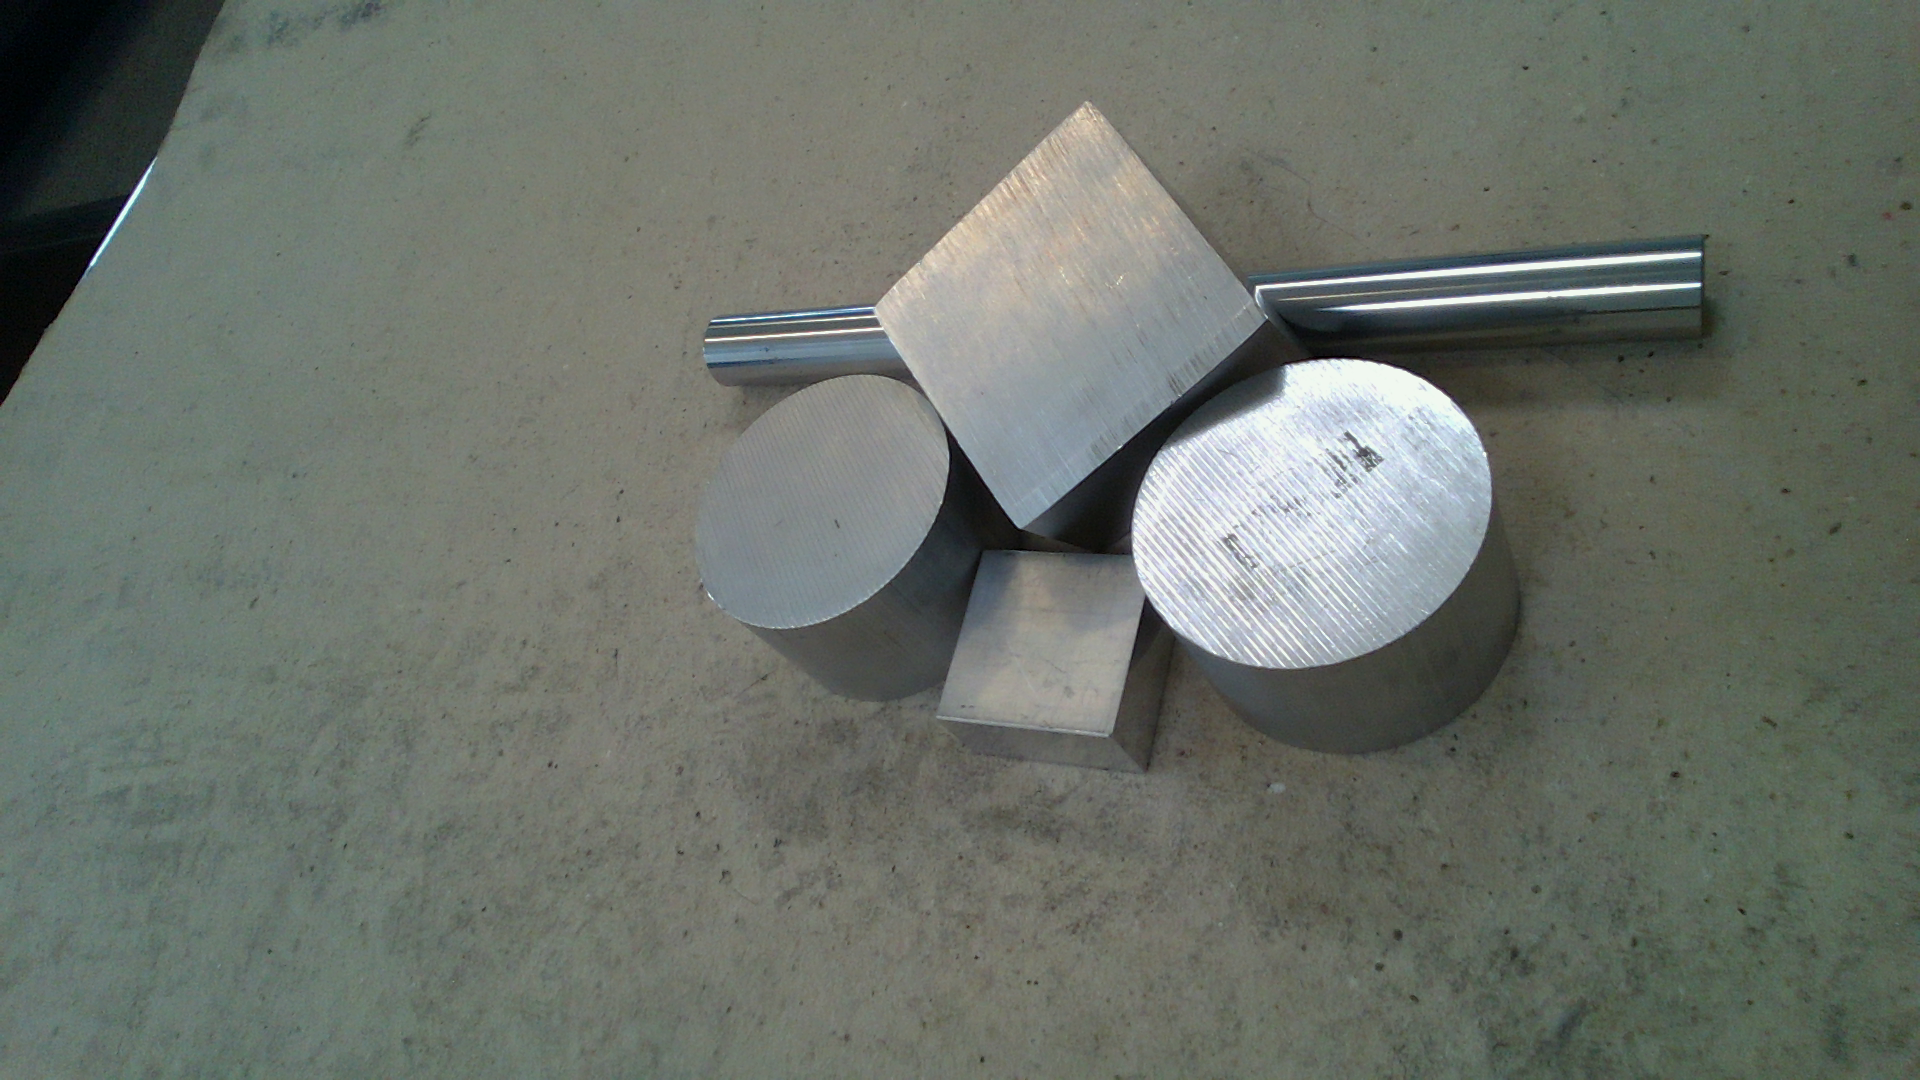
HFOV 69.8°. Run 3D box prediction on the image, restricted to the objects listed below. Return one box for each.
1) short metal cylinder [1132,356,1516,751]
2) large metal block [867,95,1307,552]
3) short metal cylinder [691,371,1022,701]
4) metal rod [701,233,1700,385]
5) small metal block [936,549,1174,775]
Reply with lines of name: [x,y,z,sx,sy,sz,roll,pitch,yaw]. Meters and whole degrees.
short metal cylinder: [0.087,0.004,0.328,0.080,0.050,0.080,-13,56,21]
large metal block: [0.036,-0.054,0.369,0.080,0.050,0.080,-41,66,18]
short metal cylinder: [-0.029,-0.001,0.393,0.080,0.050,0.080,-13,56,21]
metal rod: [0.049,-0.064,0.407,0.299,0.025,0.025,1,62,29]
small metal block: [0.027,0.031,0.361,0.050,0.025,0.050,2,62,29]
